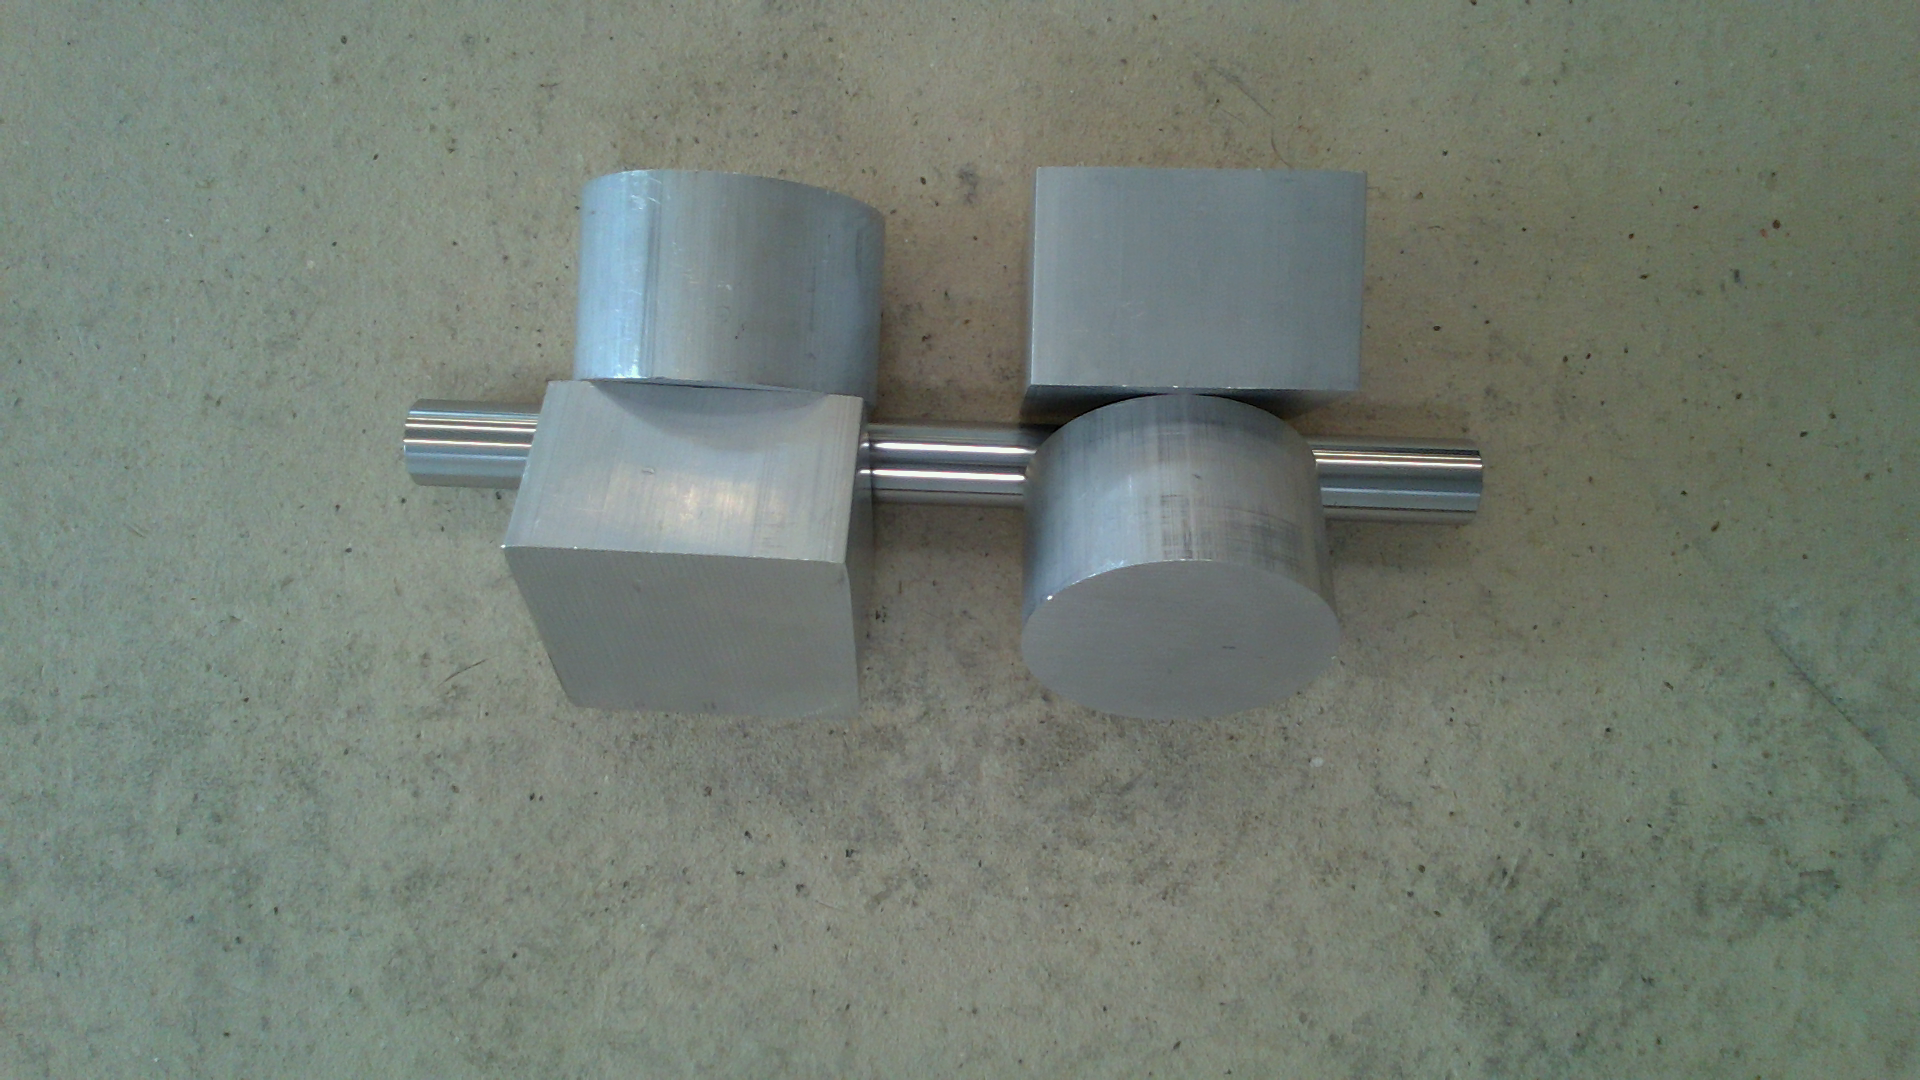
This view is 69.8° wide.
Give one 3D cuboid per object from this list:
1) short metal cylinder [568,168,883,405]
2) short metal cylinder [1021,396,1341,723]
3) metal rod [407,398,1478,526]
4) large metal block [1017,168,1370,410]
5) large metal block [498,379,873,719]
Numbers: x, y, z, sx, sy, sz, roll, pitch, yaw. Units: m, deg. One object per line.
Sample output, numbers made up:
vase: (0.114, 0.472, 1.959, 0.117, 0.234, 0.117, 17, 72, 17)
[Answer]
short metal cylinder: (-0.062, -0.063, 0.367, 0.080, 0.080, 0.050, 3, 90, 0)
short metal cylinder: (0.056, 0.007, 0.362, 0.080, 0.080, 0.050, 2, 55, 0)
metal rod: (-0.005, -0.022, 0.397, 0.300, 0.025, 0.025, 2, 90, 0)
large metal block: (0.057, -0.063, 0.368, 0.080, 0.080, 0.050, 1, 90, 0)
large metal block: (-0.066, 0.005, 0.362, 0.080, 0.080, 0.050, 2, 56, 0)
